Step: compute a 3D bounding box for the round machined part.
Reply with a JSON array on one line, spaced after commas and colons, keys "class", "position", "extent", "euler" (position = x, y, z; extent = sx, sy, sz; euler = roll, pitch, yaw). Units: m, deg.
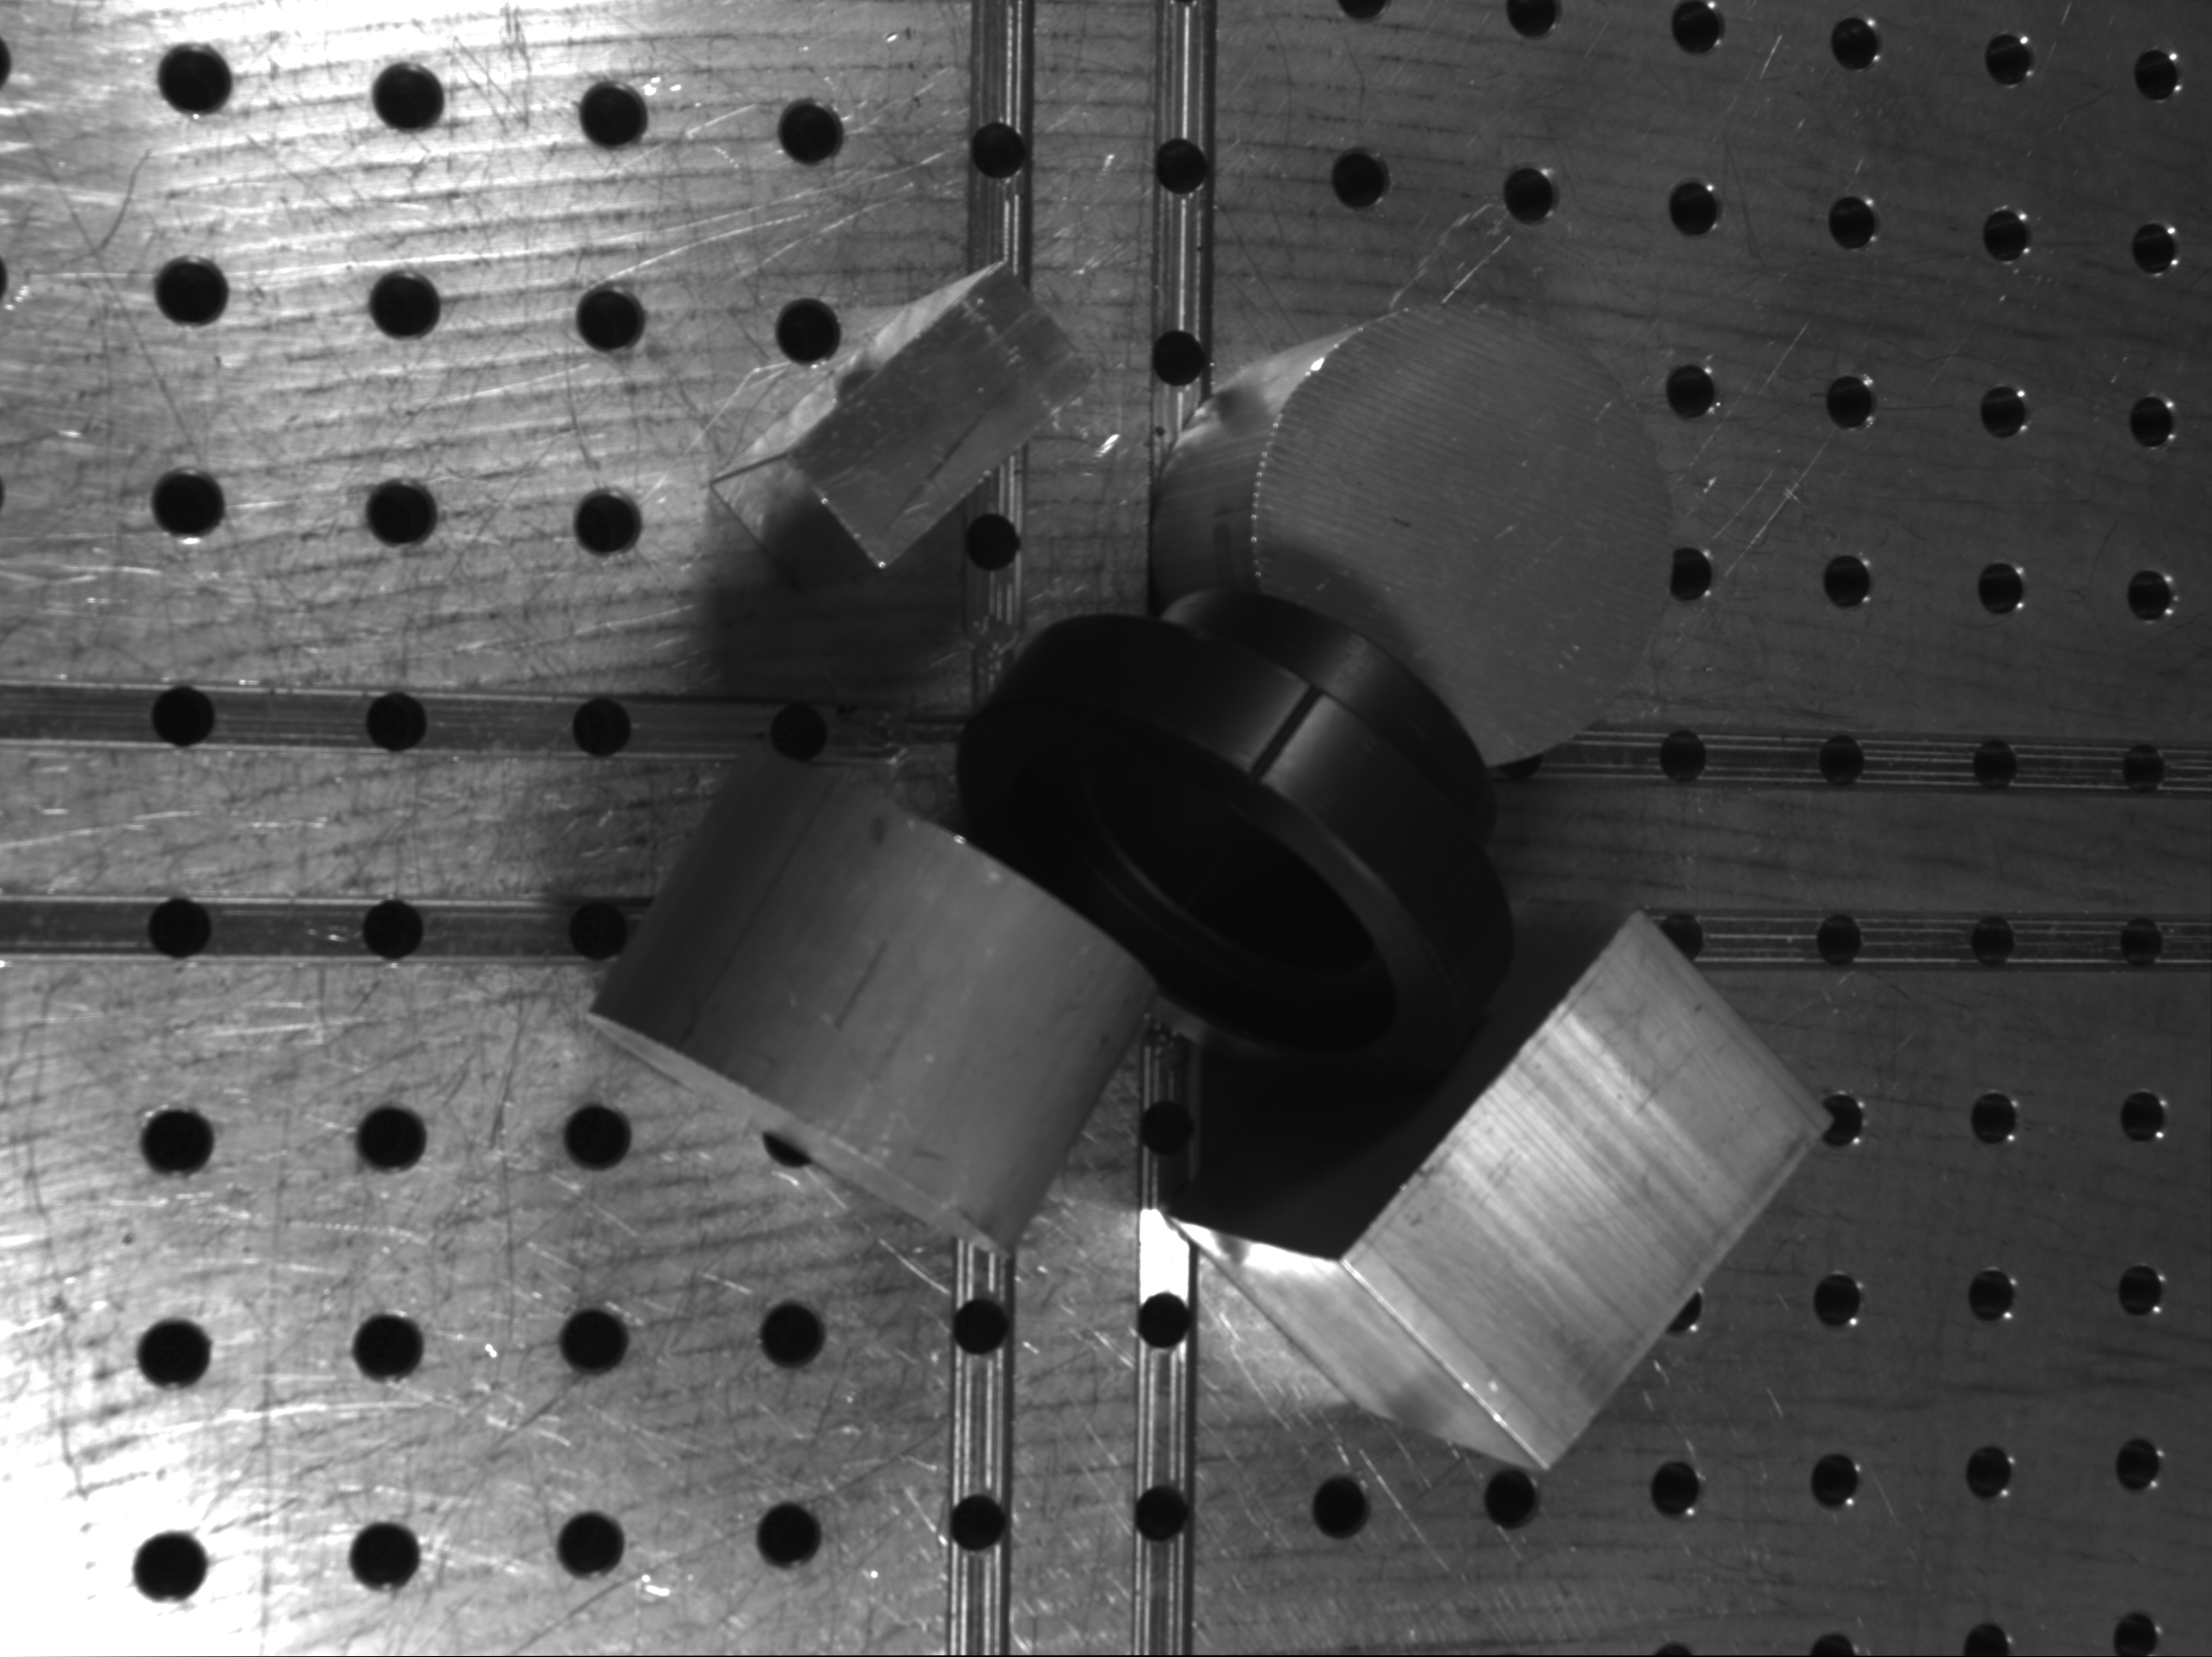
[{"class": "round machined part", "position": [0.029, -0.002, 0.618], "extent": [0.098, 0.098, 0.042], "euler": [43, 64, -15]}]

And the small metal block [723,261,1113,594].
[{"class": "small metal block", "position": [-0.033, -0.067, 0.621], "extent": [0.050, 0.050, 0.025], "euler": [-44, 103, -15]}]

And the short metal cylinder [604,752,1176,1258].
[{"class": "short metal cylinder", "position": [-0.036, 0.030, 0.603], "extent": [0.080, 0.080, 0.050], "euler": [33, 79, -17]}]

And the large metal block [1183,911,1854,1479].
[{"class": "large metal block", "position": [0.070, 0.061, 0.643], "extent": [0.050, 0.080, 0.080], "euler": [45, 76, -14]}]

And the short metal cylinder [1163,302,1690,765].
[{"class": "short metal cylinder", "position": [0.056, -0.050, 0.653], "extent": [0.080, 0.050, 0.080], "euler": [0, 90, -20]}]
